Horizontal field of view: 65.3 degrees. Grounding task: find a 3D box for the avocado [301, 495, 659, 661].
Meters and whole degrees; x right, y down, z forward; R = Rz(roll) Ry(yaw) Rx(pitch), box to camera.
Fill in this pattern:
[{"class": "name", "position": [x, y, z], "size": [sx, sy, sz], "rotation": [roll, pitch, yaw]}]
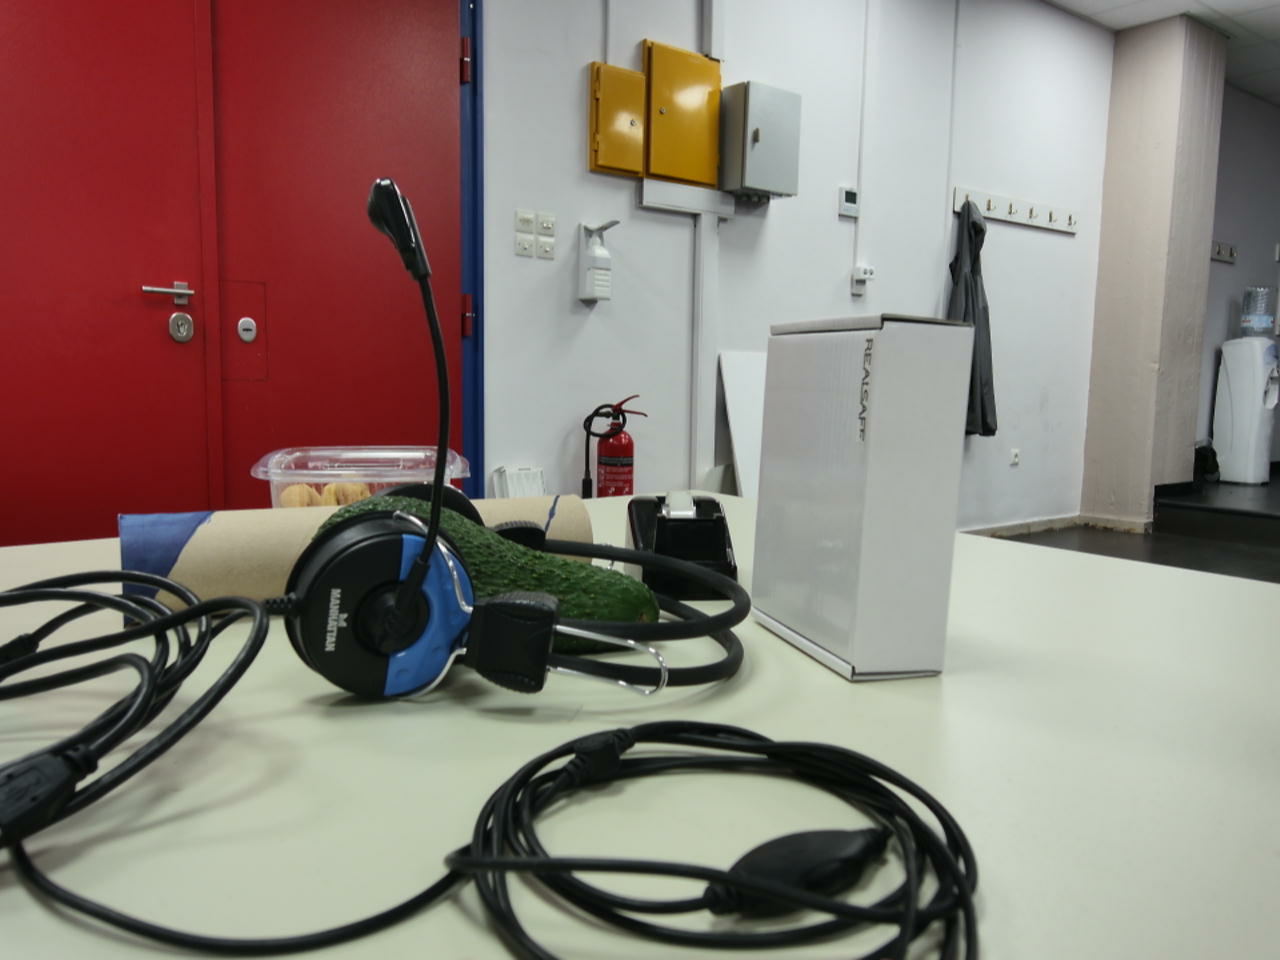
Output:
[{"class": "avocado", "position": [-0.064, 0.038, 0.411], "size": [0.141, 0.067, 0.063], "rotation": [-2, 4, -24]}]
